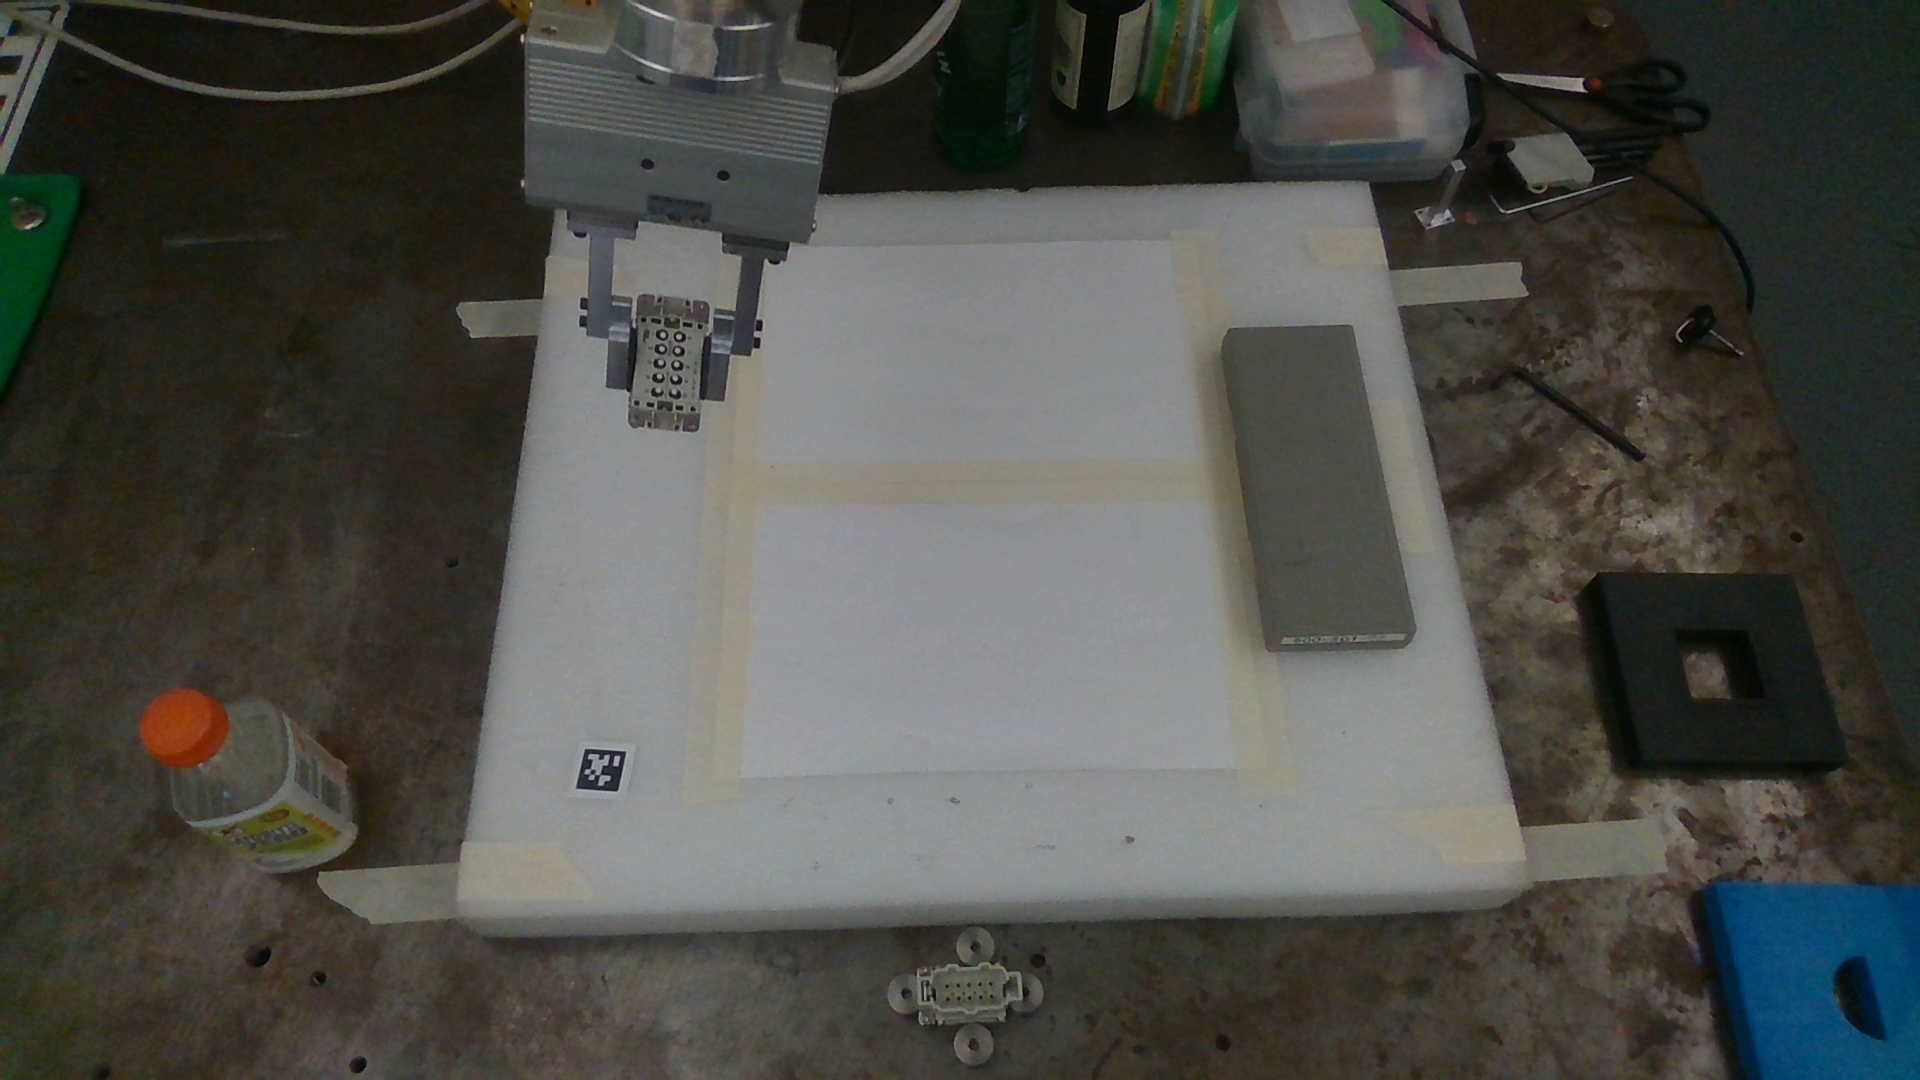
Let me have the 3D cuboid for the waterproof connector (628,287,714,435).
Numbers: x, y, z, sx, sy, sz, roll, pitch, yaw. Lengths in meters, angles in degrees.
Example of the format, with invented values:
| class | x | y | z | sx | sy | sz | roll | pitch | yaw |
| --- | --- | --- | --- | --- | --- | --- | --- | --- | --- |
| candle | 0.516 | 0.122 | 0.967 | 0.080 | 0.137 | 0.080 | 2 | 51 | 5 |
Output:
| class | x | y | z | sx | sy | sz | roll | pitch | yaw |
| --- | --- | --- | --- | --- | --- | --- | --- | --- | --- |
| waterproof connector | -0.138 | -0.086 | 0.663 | 0.037 | 0.038 | 0.069 | 5 | 100 | -6 |
